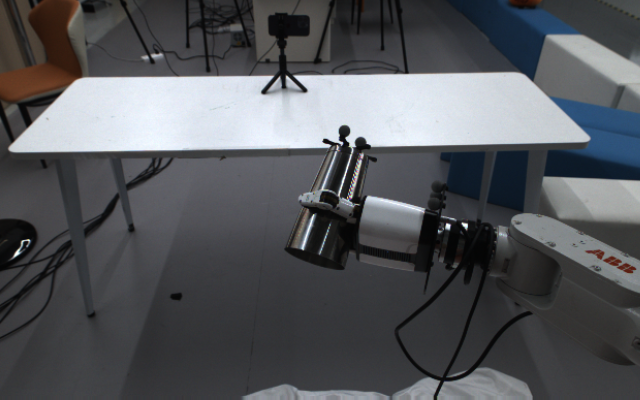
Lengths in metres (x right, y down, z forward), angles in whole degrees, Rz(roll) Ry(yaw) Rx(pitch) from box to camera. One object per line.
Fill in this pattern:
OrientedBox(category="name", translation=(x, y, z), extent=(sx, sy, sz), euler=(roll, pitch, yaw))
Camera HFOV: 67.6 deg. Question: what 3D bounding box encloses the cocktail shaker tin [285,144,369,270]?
OrientedBox(category="cocktail shaker tin", translation=(0.017, 0.009, 0.717), extent=(0.093, 0.093, 0.170), euler=(14, 73, 17))
